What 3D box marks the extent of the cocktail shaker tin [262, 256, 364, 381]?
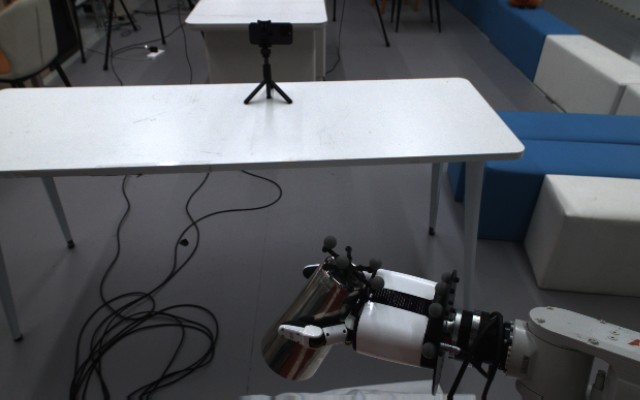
[{"bbox_3d":[-0.005,0.154,0.670,0.093,0.170,0.093,25,29,-15],"label":"cocktail shaker tin"}]
